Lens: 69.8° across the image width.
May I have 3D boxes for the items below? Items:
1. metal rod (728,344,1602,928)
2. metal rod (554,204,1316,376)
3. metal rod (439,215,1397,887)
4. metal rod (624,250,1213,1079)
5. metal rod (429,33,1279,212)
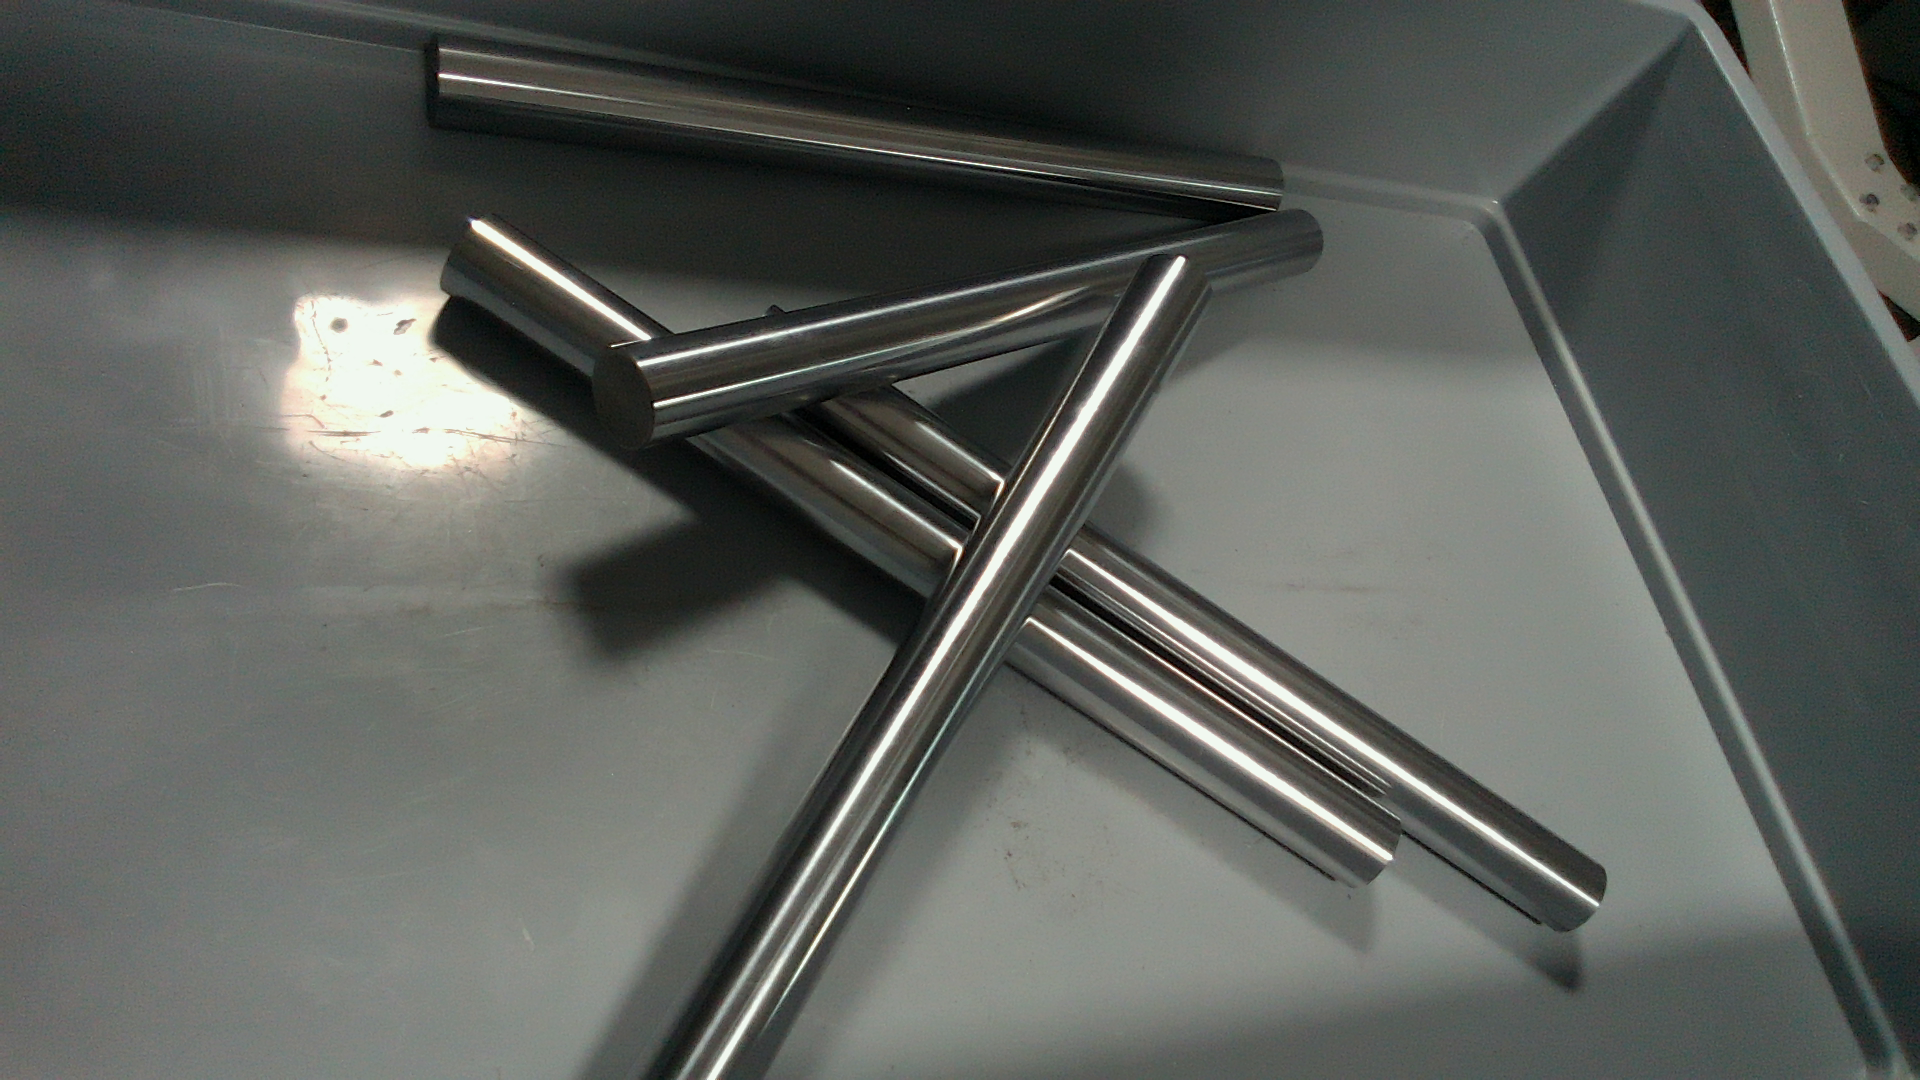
[{"bbox_3d":[0.064,0.026,0.408,0.300,0.025,0.025,34,51,-6],"label":"metal rod"},{"bbox_3d":[0.017,-0.085,0.430,0.301,0.025,0.025,-17,70,-41],"label":"metal rod"},{"bbox_3d":[-0.006,0.007,0.382,0.300,0.025,0.025,34,51,-6],"label":"metal rod"},{"bbox_3d":[-0.003,0.031,0.342,0.025,0.025,0.301,35,59,-5],"label":"metal rod"},{"bbox_3d":[-0.017,-0.132,0.461,0.301,0.025,0.025,-1,62,-29],"label":"metal rod"}]
